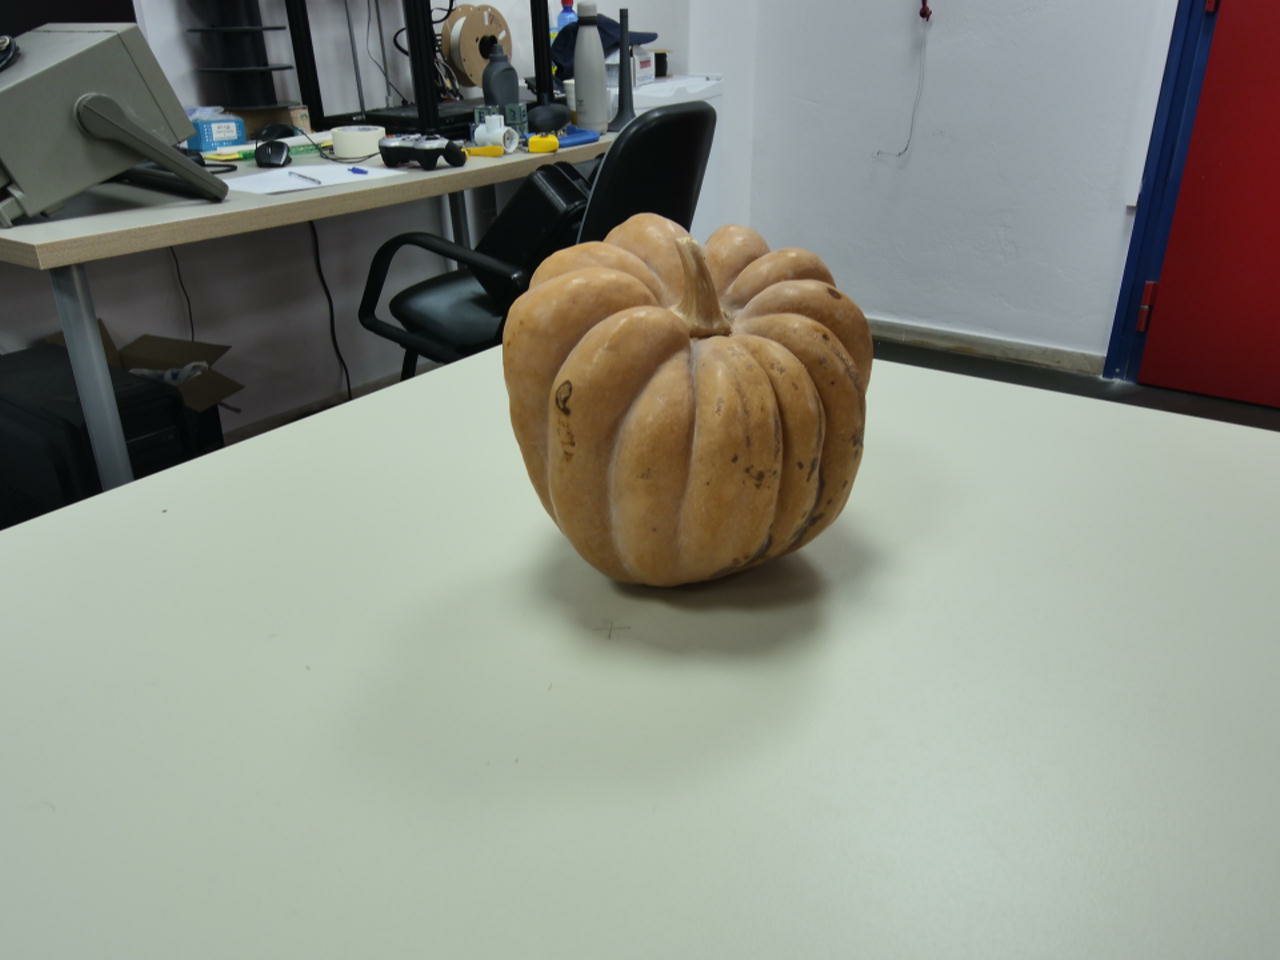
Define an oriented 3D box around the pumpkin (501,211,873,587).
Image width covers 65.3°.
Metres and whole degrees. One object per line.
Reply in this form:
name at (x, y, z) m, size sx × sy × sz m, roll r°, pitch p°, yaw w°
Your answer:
pumpkin at (0.023, -0.040, 0.521) m, size 0.199 × 0.177 × 0.198 m, roll 0°, pitch 24°, yaw 0°
